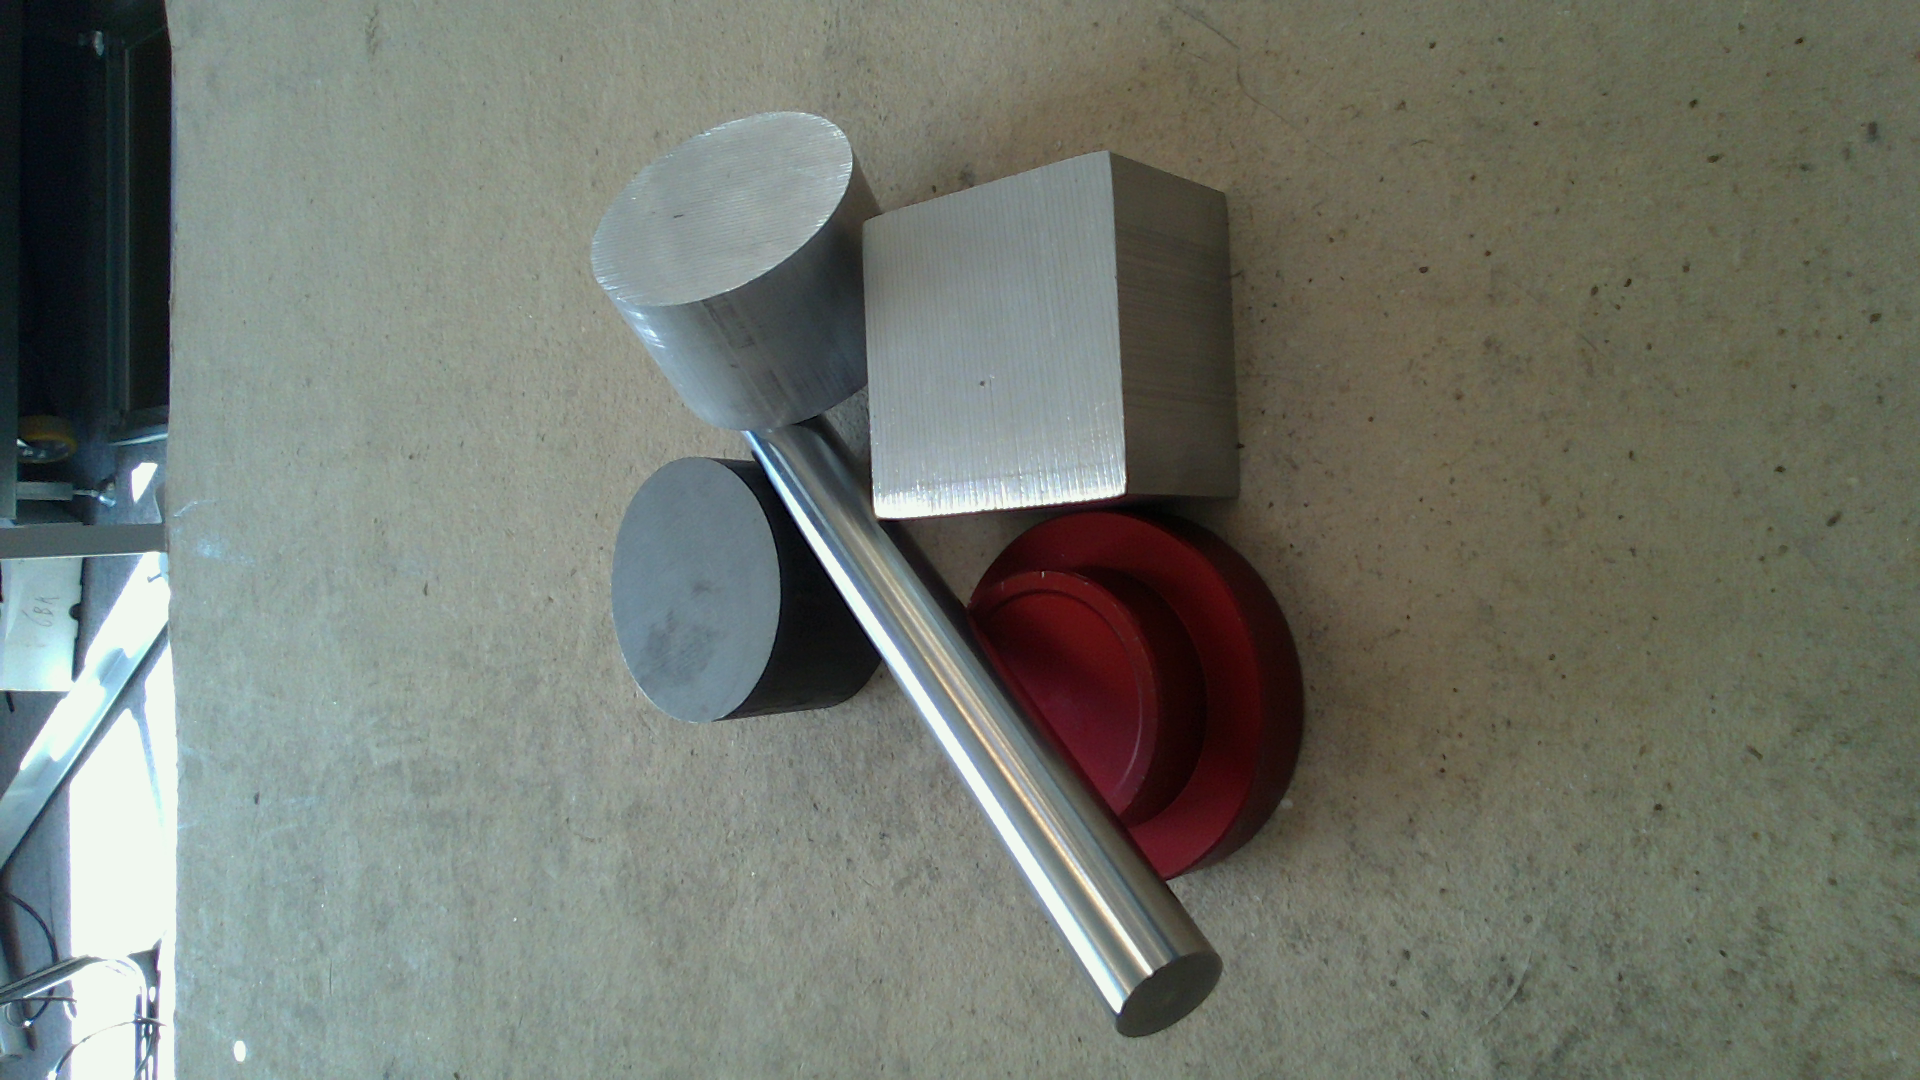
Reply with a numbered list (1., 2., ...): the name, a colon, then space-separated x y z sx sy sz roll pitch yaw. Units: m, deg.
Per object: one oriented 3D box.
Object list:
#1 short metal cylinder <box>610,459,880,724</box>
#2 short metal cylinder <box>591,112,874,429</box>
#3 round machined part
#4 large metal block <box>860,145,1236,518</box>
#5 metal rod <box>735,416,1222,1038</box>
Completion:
1. short metal cylinder: -0.066 0.015 0.435 0.080 0.050 0.080 0 90 40
2. short metal cylinder: -0.059 -0.079 0.404 0.080 0.050 0.080 -12 49 14
3. round machined part: 0.033 0.041 0.355 0.098 0.042 0.098 0 90 40
4. large metal block: 0.022 -0.048 0.358 0.080 0.050 0.080 -4 87 40
5. metal rod: -0.026 0.003 0.373 0.025 0.025 0.299 -60 43 23
